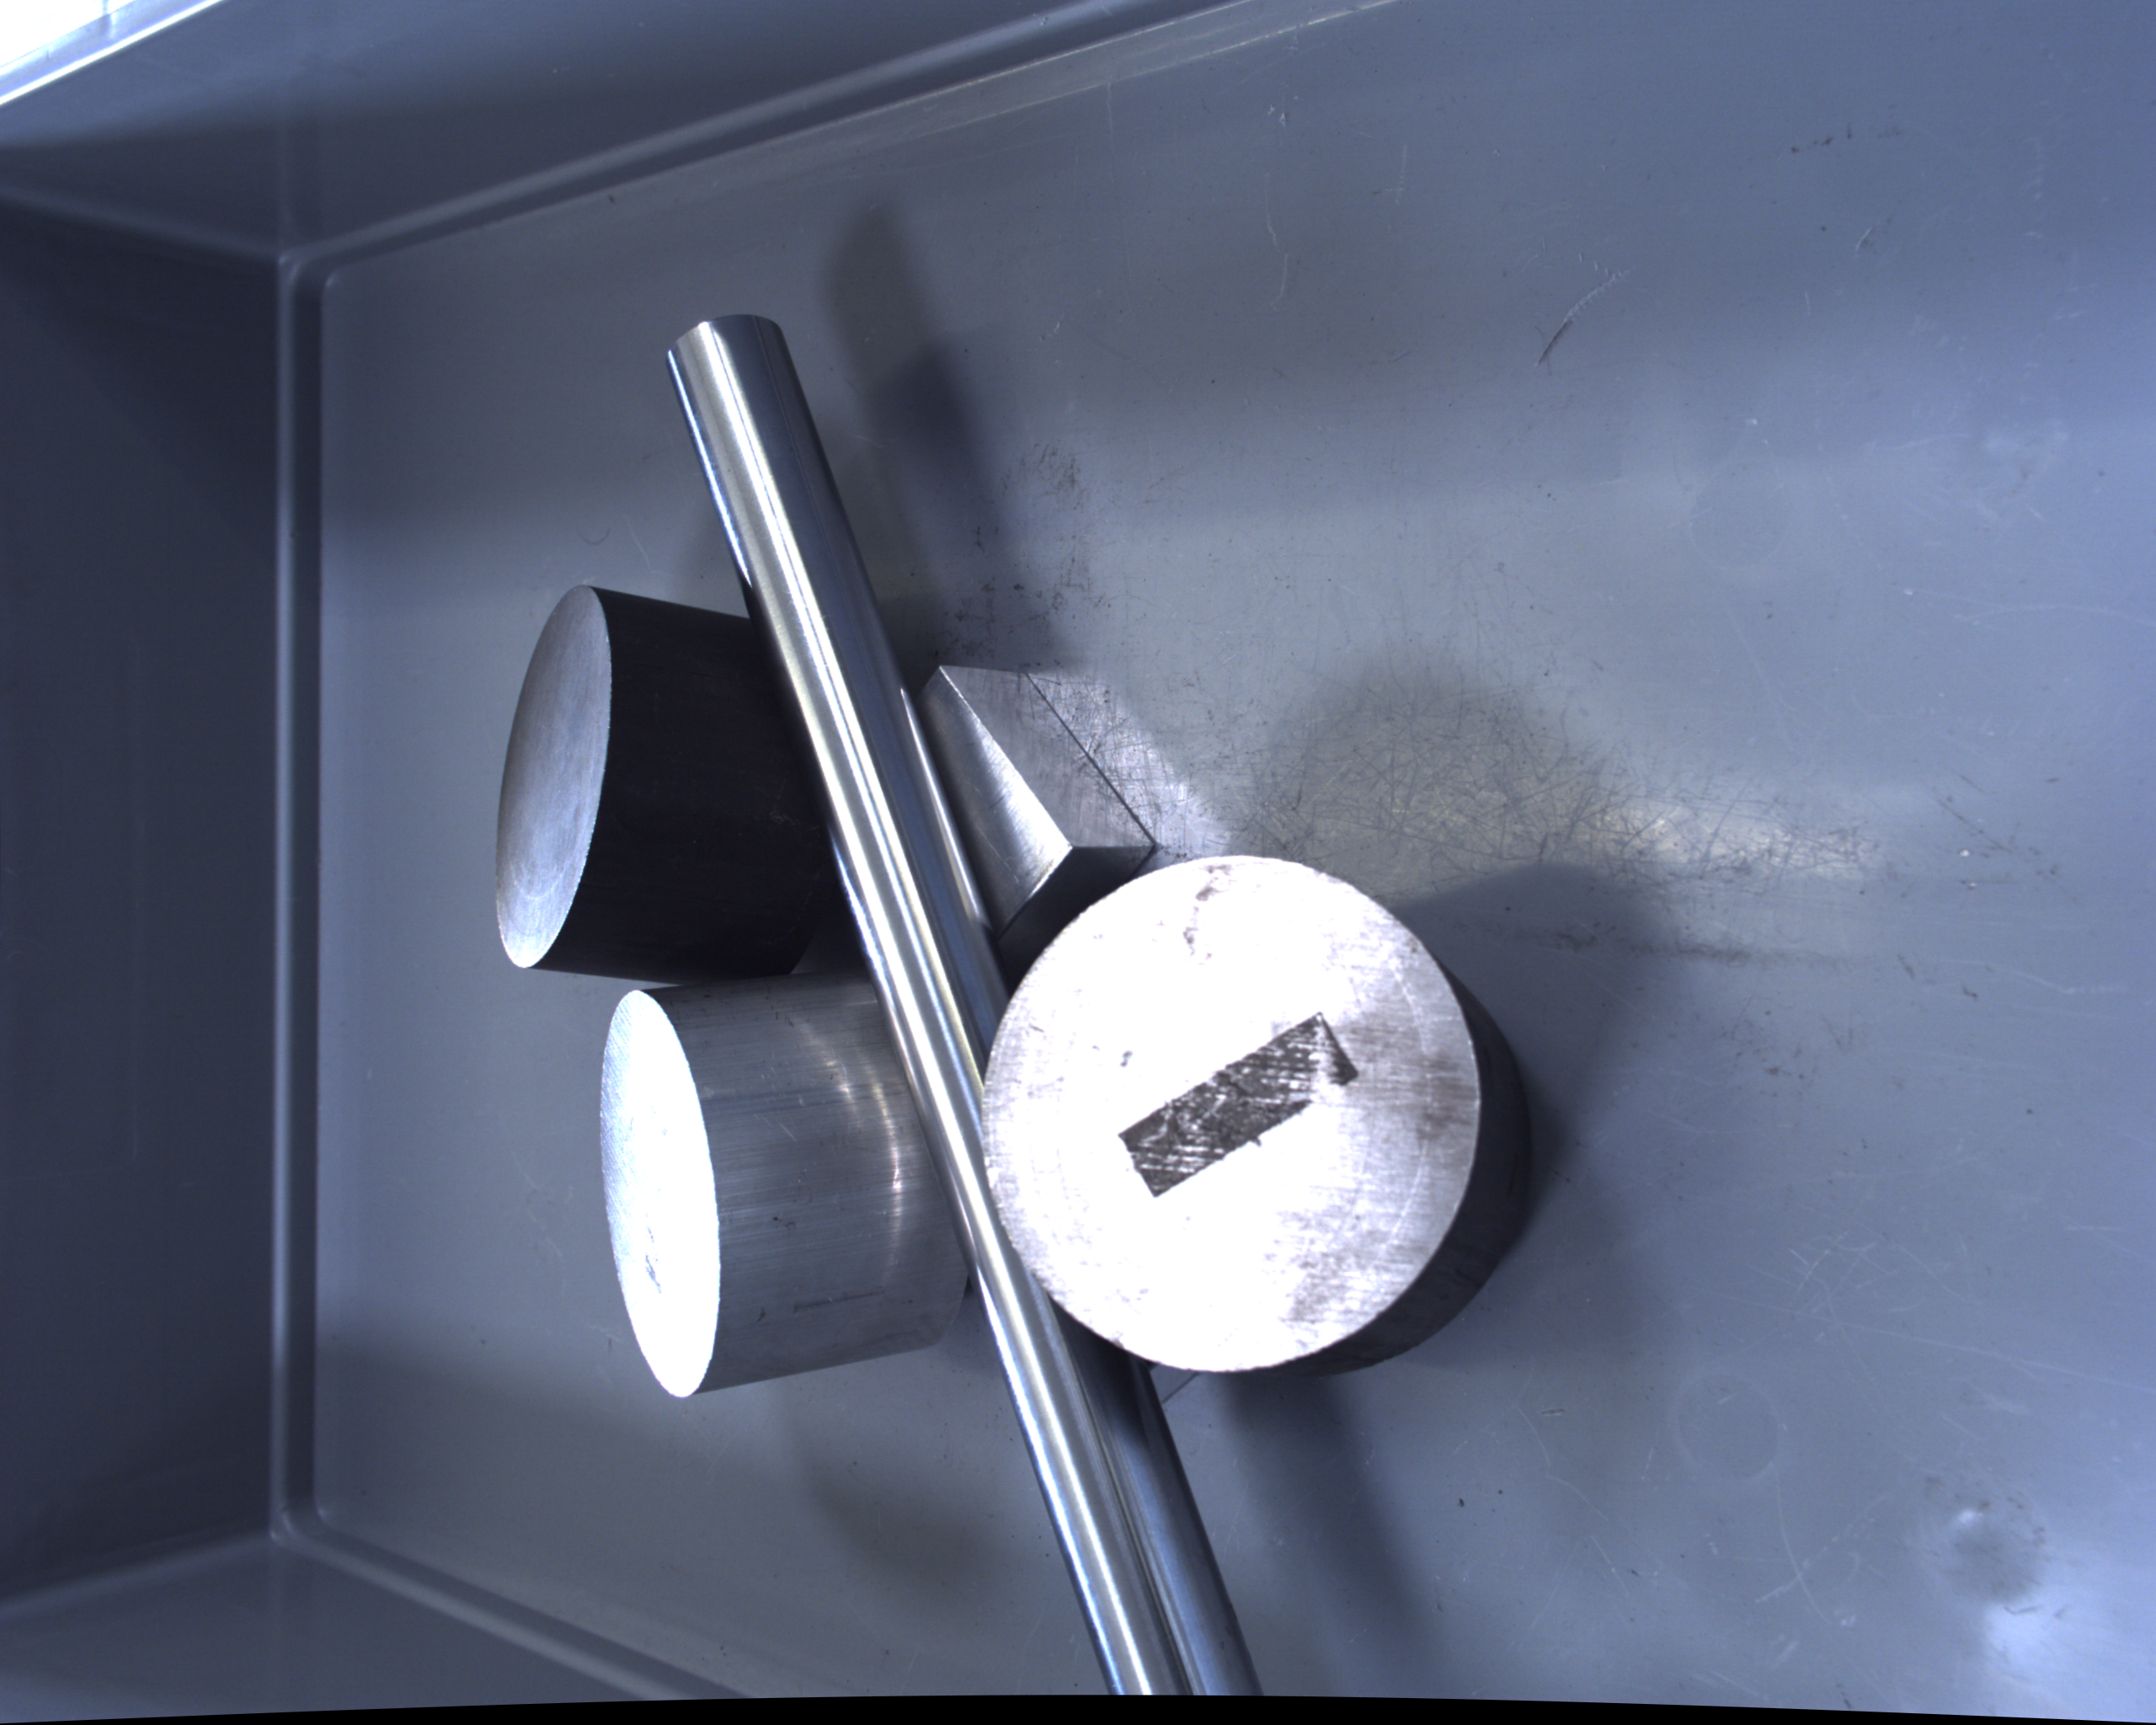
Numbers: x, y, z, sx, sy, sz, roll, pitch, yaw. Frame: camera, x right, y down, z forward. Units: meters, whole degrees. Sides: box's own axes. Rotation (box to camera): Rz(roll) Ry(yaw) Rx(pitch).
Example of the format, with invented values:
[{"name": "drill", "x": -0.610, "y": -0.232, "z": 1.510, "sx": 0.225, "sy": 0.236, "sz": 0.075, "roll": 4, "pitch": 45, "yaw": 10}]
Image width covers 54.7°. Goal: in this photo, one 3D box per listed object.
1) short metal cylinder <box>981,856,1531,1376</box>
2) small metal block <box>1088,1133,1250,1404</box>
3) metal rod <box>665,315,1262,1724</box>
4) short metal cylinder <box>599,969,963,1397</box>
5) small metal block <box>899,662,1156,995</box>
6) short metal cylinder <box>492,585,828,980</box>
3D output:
[{"name": "short metal cylinder", "x": 0.031, "y": 0.044, "z": 0.346, "sx": 0.080, "sy": 0.050, "sz": 0.080, "roll": -6, "pitch": 74, "yaw": 19}, {"name": "small metal block", "x": 0.009, "y": 0.072, "z": 0.397, "sx": 0.050, "sy": 0.025, "sz": 0.050, "roll": -48, "pitch": 62, "yaw": 29}, {"name": "metal rod", "x": -0.024, "y": 0.029, "z": 0.391, "sx": 0.025, "sy": 0.025, "sz": 0.299, "roll": -32, "pitch": 70, "yaw": 35}, {"name": "short metal cylinder", "x": -0.061, "y": 0.063, "z": 0.421, "sx": 0.080, "sy": 0.050, "sz": 0.079, "roll": 15, "pitch": 107, "yaw": 61}, {"name": "small metal block", "x": -0.020, "y": -0.004, "z": 0.421, "sx": 0.050, "sy": 0.025, "sz": 0.050, "roll": -51, "pitch": 61, "yaw": 28}, {"name": "short metal cylinder", "x": -0.088, "y": -0.015, "z": 0.443, "sx": 0.080, "sy": 0.050, "sz": 0.080, "roll": -25, "pitch": 60, "yaw": 56}]
